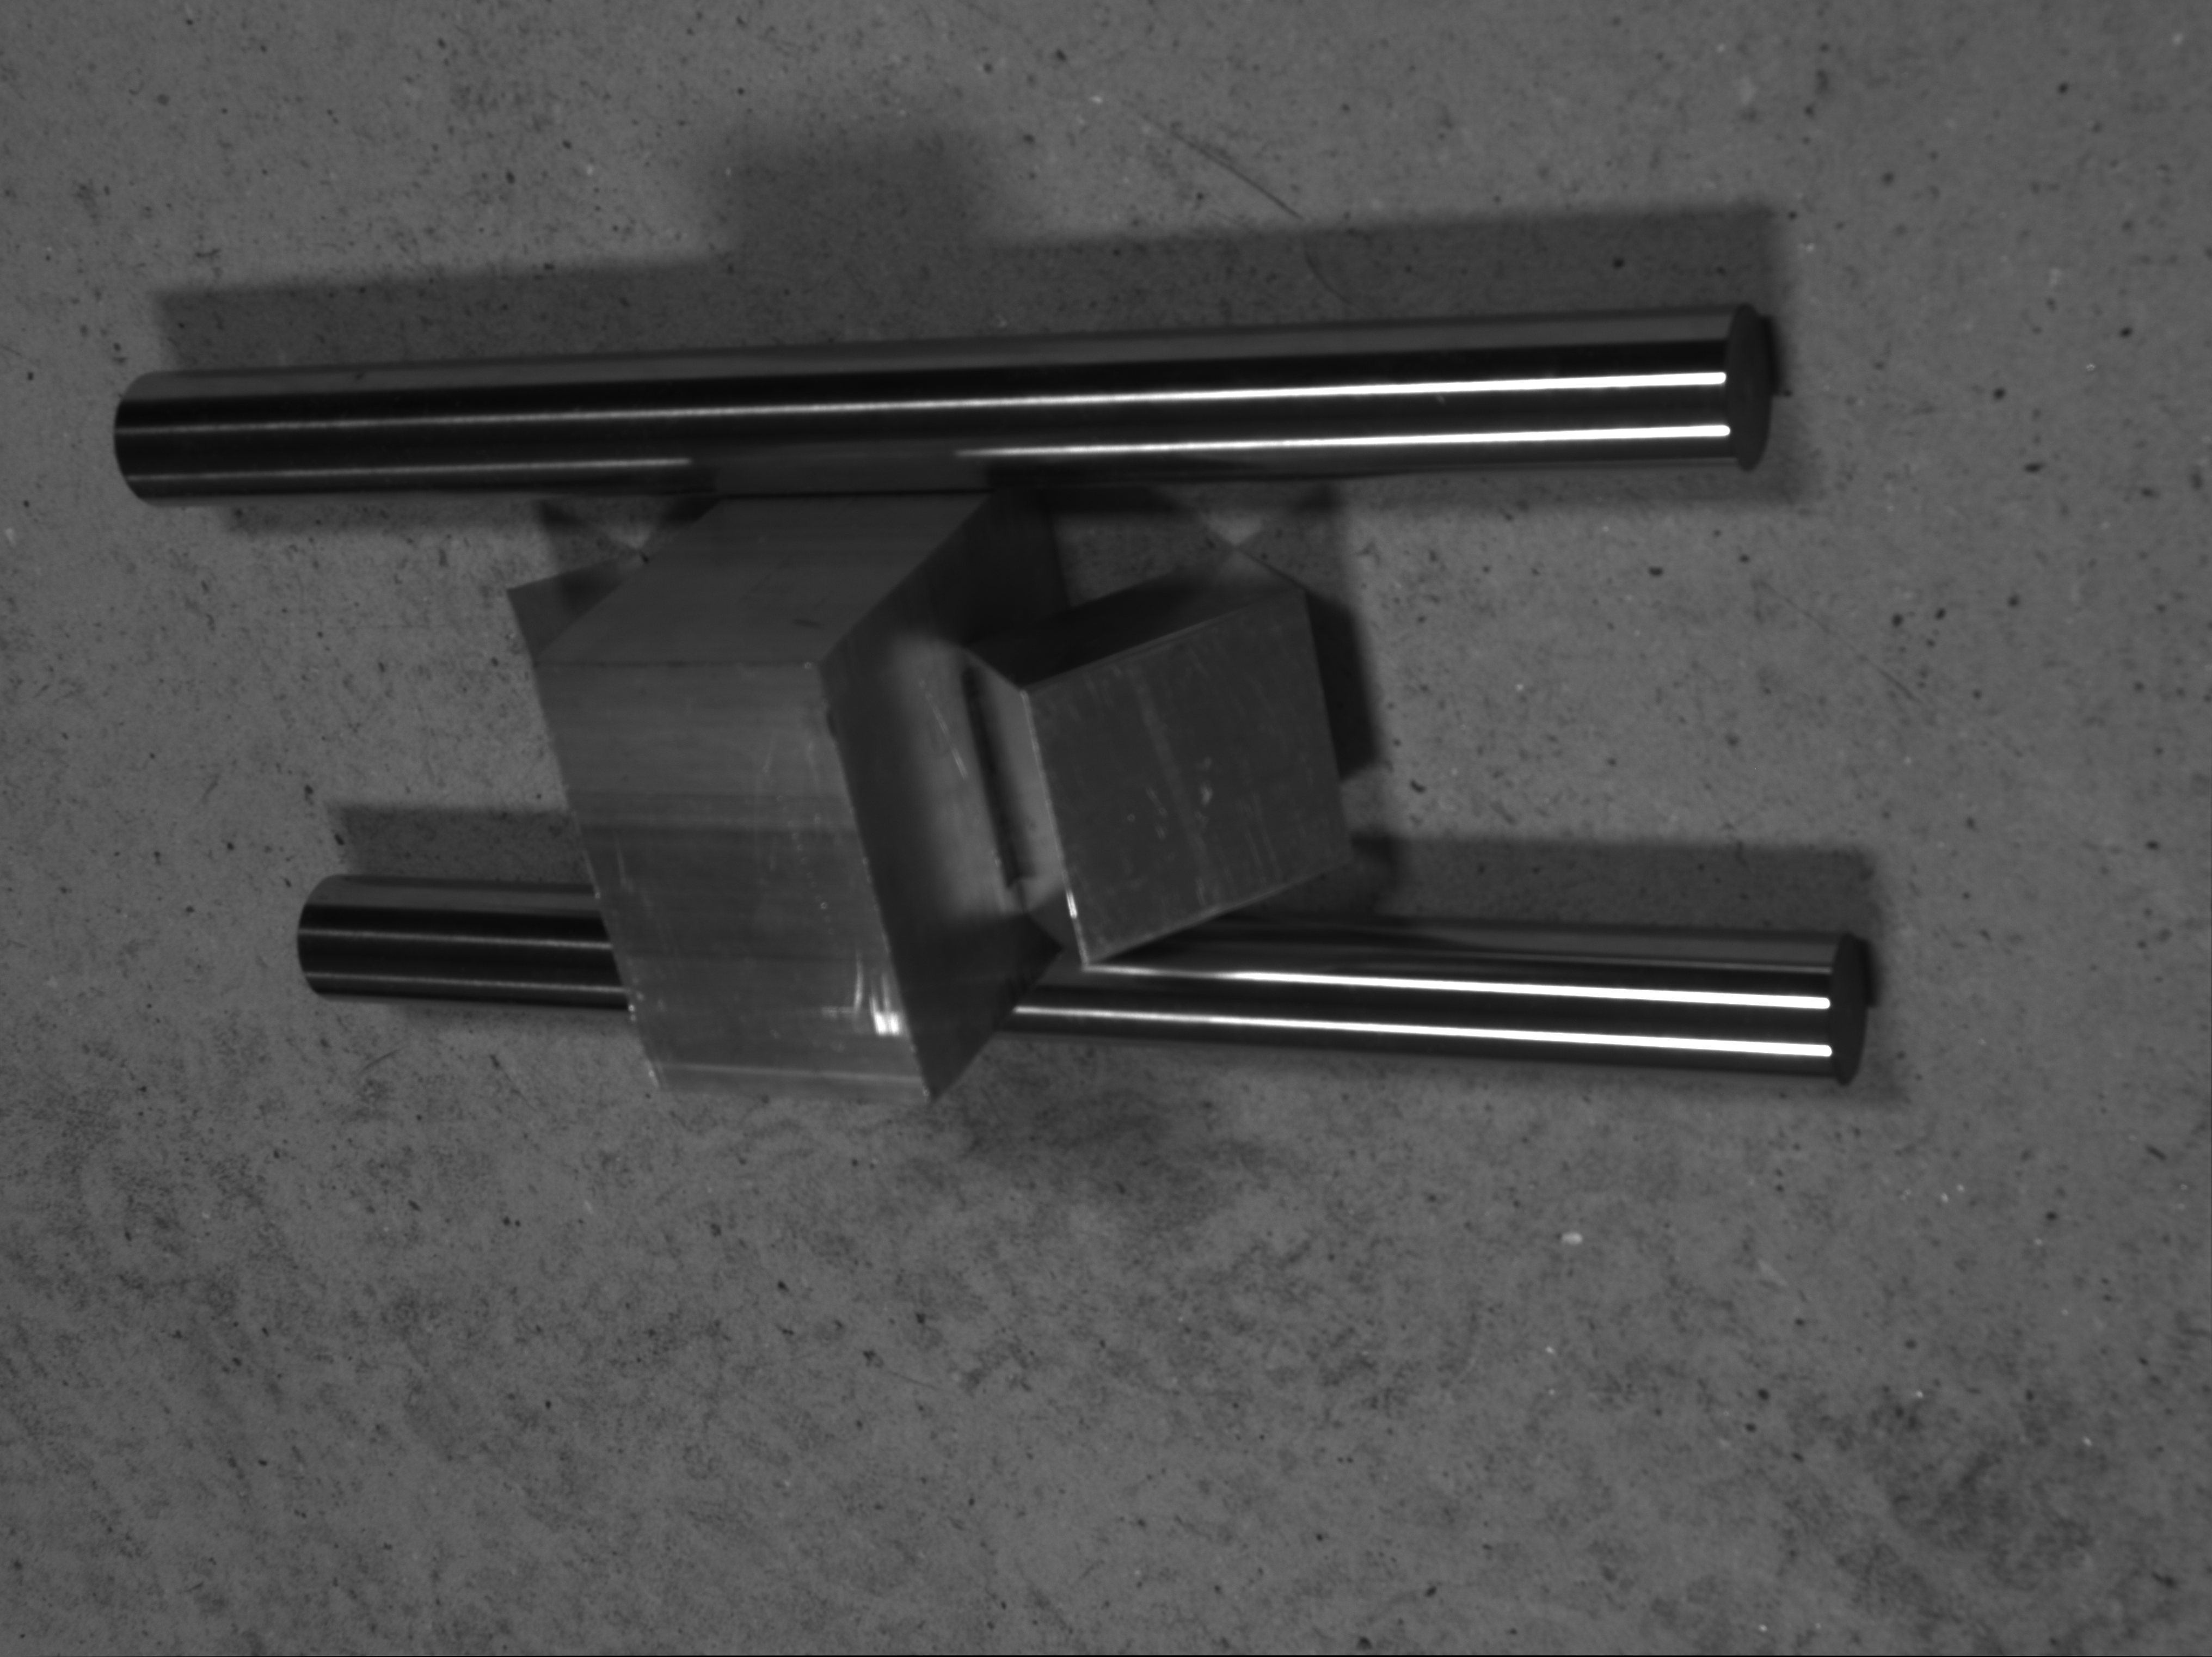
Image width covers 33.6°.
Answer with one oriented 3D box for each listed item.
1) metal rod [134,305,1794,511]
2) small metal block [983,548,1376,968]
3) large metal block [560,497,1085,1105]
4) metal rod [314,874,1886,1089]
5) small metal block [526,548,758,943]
[{"bbox_3d":[-0.036,-0.068,0.608,0.299,0.025,0.025,1,119,26],"label":"metal rod"},{"bbox_3d":[0.012,-0.012,0.600,0.025,0.050,0.050,38,145,59],"label":"small metal block"},{"bbox_3d":[-0.039,-0.010,0.613,0.050,0.080,0.080,1,119,26],"label":"large metal block"},{"bbox_3d":[-0.013,0.025,0.653,0.299,0.025,0.025,2,119,26],"label":"metal rod"},{"bbox_3d":[-0.080,-0.015,0.645,0.025,0.050,0.050,-17,116,-9],"label":"small metal block"}]
